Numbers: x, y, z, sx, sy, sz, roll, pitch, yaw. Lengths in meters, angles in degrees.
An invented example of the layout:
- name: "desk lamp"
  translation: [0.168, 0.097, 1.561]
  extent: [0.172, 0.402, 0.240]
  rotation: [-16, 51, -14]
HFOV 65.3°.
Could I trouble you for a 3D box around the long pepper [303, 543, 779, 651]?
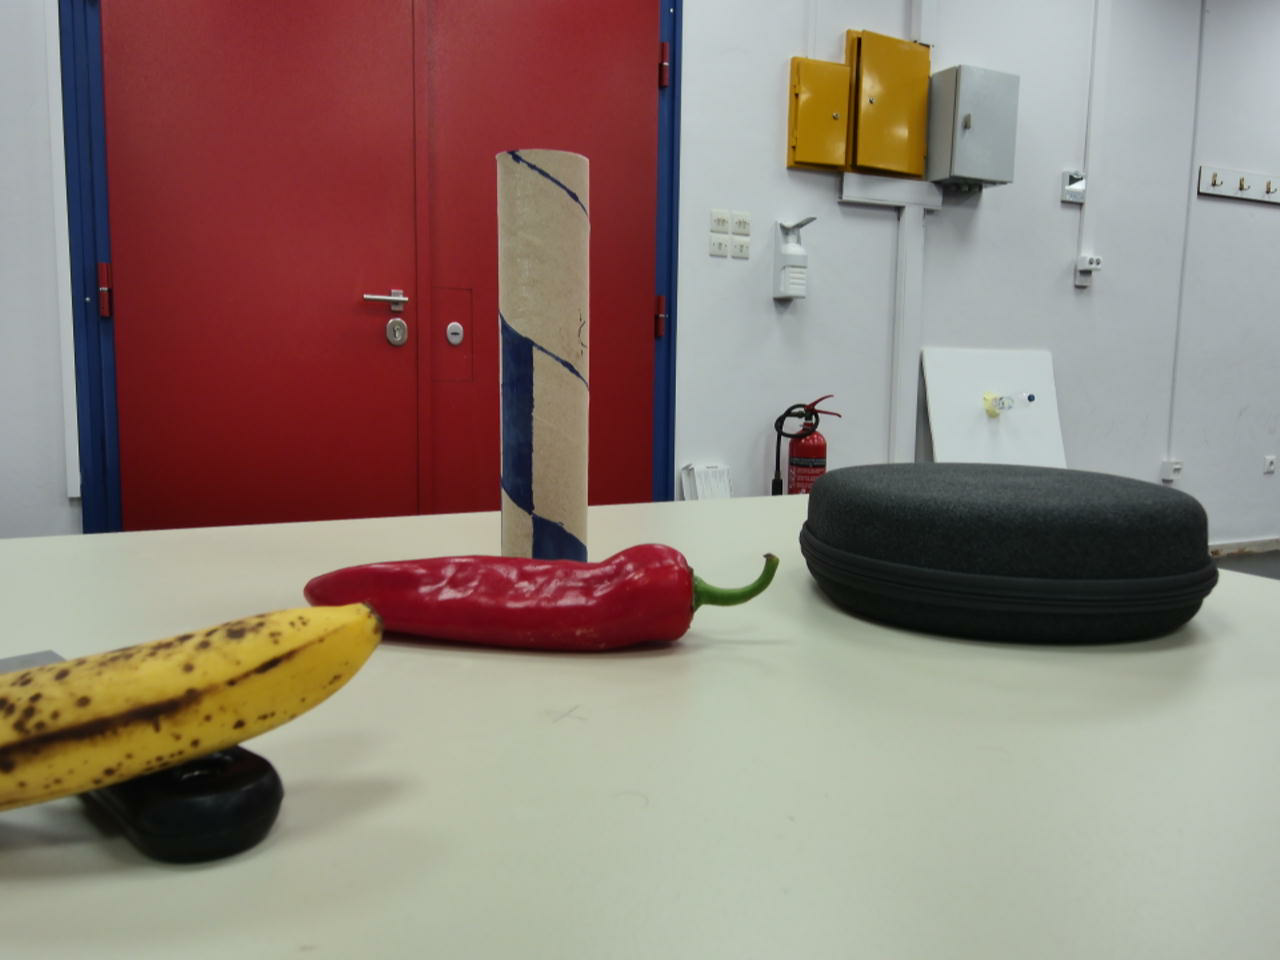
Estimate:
- name: "long pepper"
  translation: [-0.047, 0.049, 0.432]
  extent: [0.211, 0.043, 0.050]
  rotation: [0, 4, 6]
